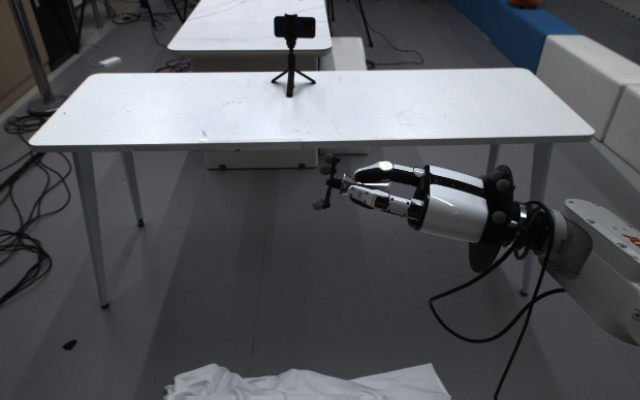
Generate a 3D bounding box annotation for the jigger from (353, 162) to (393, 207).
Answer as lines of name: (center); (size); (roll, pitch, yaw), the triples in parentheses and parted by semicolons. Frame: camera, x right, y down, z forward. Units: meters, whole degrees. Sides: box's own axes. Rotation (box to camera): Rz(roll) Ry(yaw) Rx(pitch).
jigger: (0.072, -0.018, 0.707); (0.071, 0.043, 0.043); (12, 36, 5)
